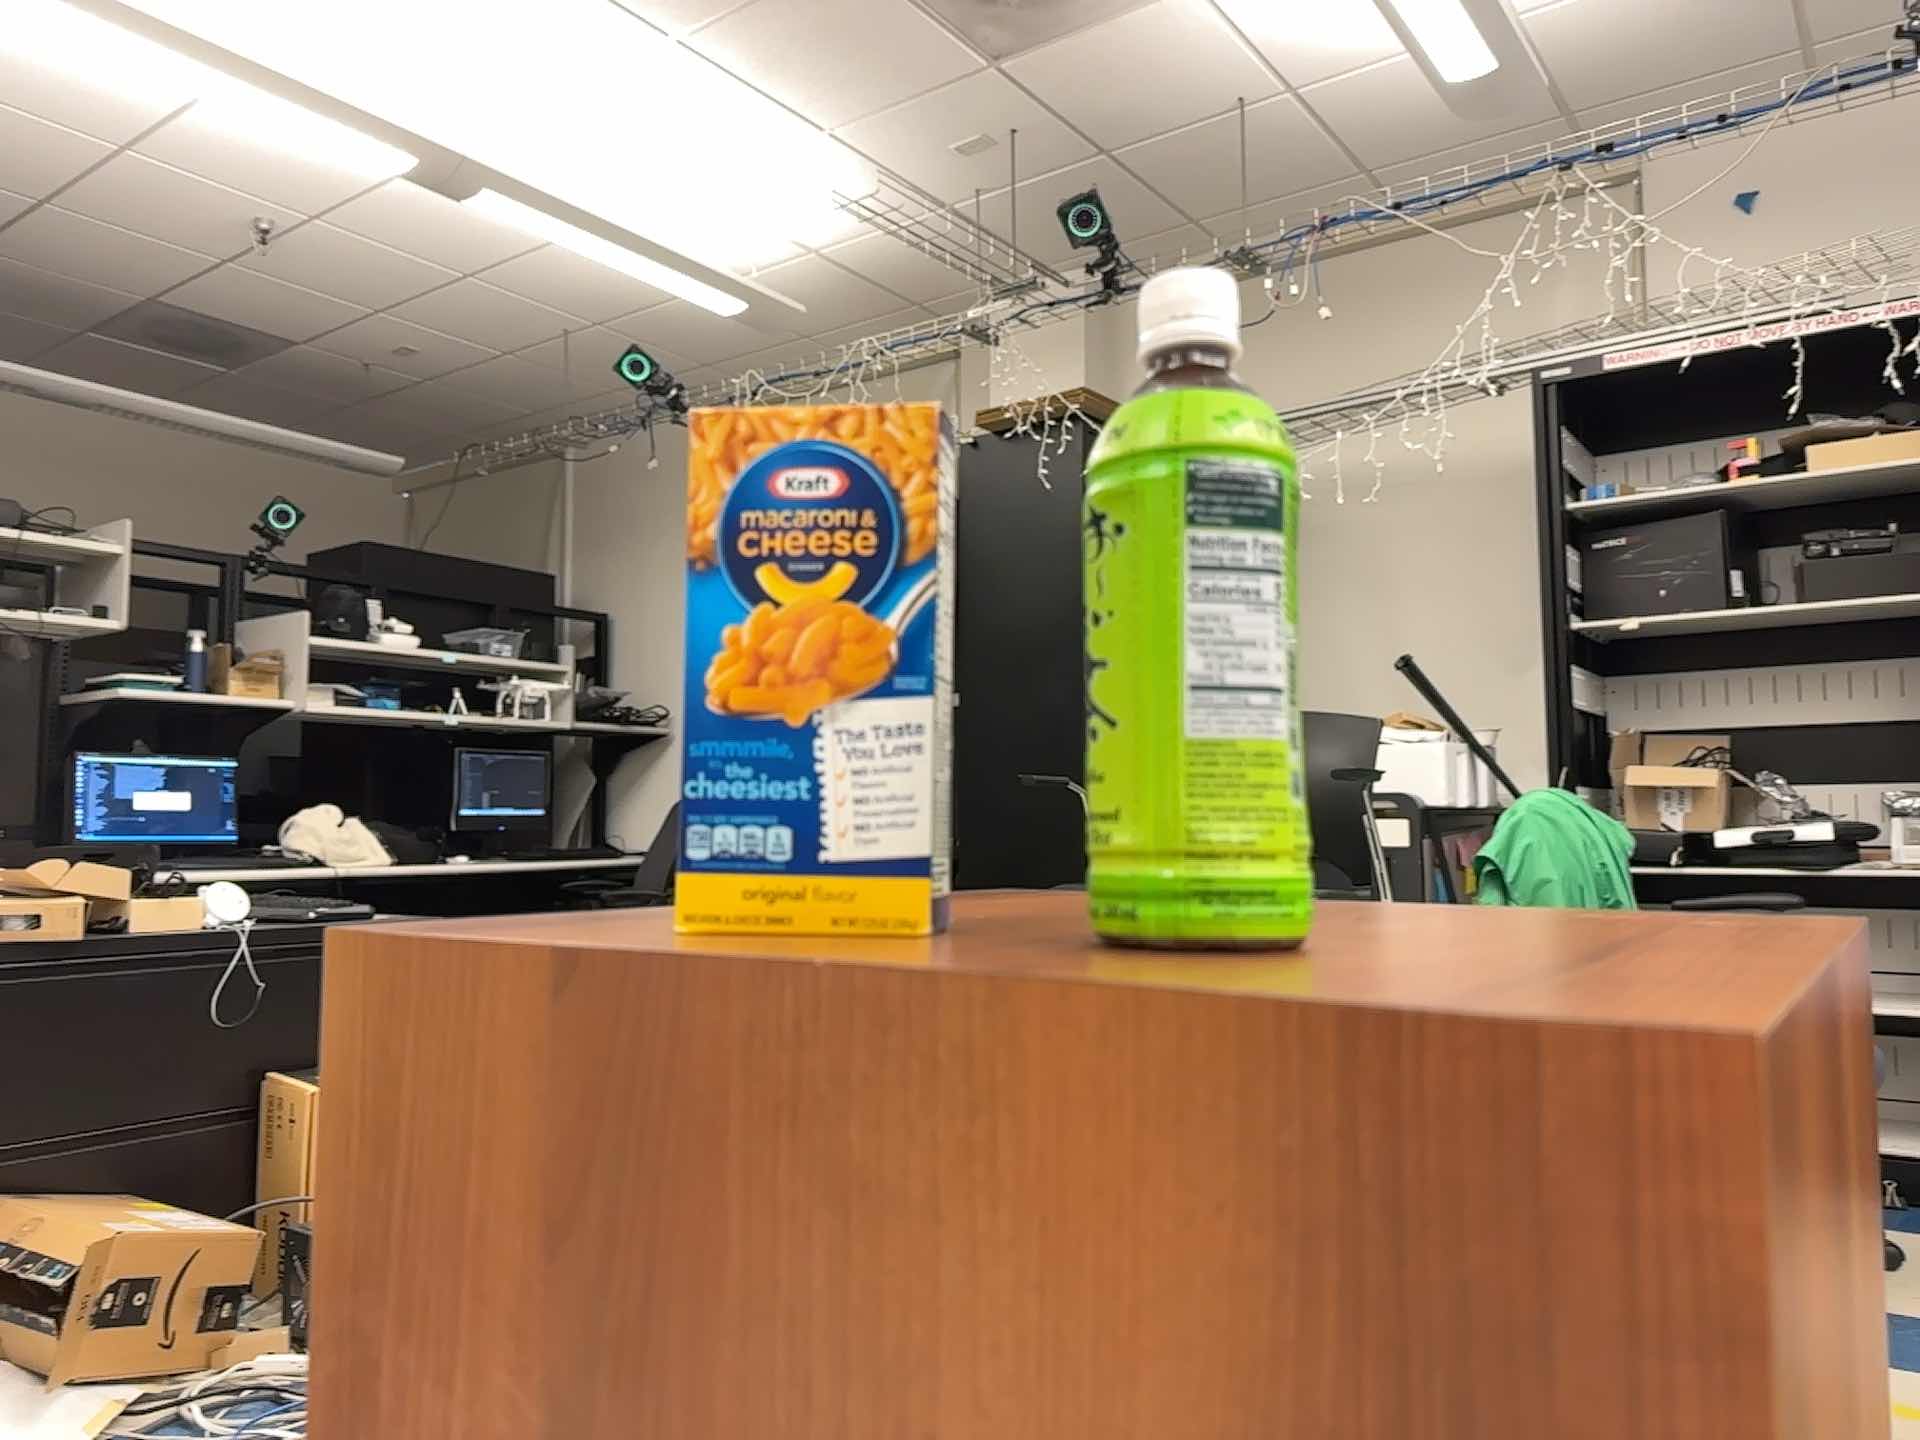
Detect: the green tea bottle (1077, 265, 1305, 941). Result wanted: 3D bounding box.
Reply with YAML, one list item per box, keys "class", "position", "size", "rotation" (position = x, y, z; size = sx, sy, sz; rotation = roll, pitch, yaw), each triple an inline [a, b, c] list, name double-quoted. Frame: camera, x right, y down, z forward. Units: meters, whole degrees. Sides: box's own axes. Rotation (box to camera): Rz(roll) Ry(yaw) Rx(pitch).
- class: "green tea bottle"
  position: [0.073, -0.038, 0.427]
  size: [0.073, 0.212, 0.073]
  rotation: [3, -8, 0]

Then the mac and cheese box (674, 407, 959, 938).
- class: "mac and cheese box"
  position: [-0.049, -0.016, 0.480]
  size: [0.088, 0.181, 0.035]
  rotation: [-1, -8, 12]
